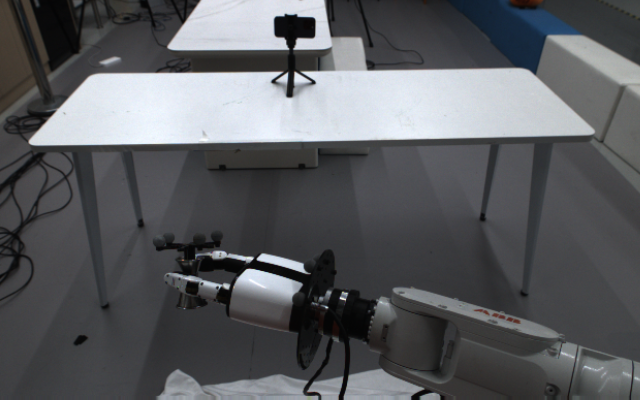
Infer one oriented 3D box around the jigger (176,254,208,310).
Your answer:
[{"bbox_3d":[-0.182,0.115,0.680,0.043,0.071,0.043,-2,4,0],"label":"jigger"}]
